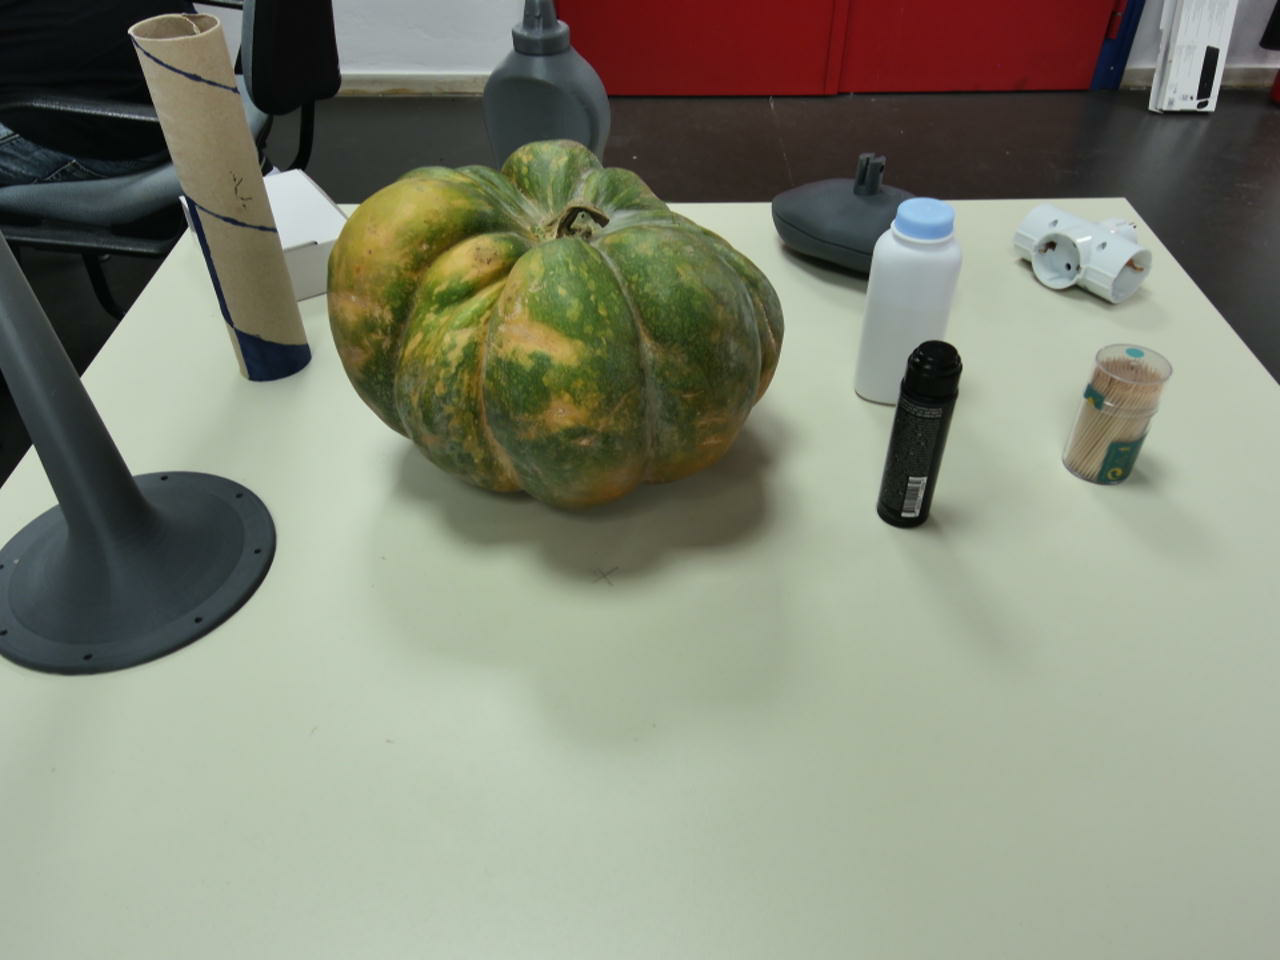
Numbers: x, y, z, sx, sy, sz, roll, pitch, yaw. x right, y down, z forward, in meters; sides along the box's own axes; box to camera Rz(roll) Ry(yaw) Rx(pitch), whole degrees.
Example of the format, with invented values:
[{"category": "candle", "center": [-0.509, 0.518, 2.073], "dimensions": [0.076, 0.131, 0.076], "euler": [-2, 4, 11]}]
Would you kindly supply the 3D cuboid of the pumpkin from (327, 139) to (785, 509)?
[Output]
[{"category": "pumpkin", "center": [-0.046, -0.097, 0.583], "dimensions": [0.270, 0.173, 0.237], "euler": [26, 46, 28]}]
